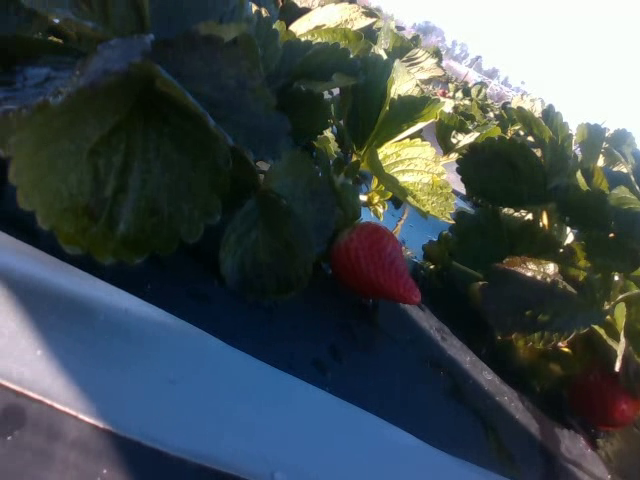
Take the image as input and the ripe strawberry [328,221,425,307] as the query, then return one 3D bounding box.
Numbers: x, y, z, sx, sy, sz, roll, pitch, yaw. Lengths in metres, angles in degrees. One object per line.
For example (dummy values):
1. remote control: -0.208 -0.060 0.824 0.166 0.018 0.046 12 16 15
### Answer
1. ripe strawberry: 0.029 0.014 0.299 0.045 0.058 0.042 -28 -25 -25
